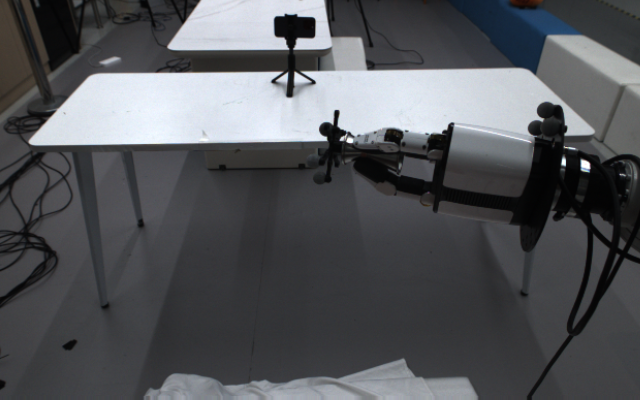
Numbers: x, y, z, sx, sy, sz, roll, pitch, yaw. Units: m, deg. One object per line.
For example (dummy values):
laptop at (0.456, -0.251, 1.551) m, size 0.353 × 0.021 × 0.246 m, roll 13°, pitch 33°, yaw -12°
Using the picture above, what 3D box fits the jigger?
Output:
jigger at (0.069, -0.061, 0.571) m, size 0.071 × 0.043 × 0.043 m, roll 9°, pitch 35°, yaw 16°
